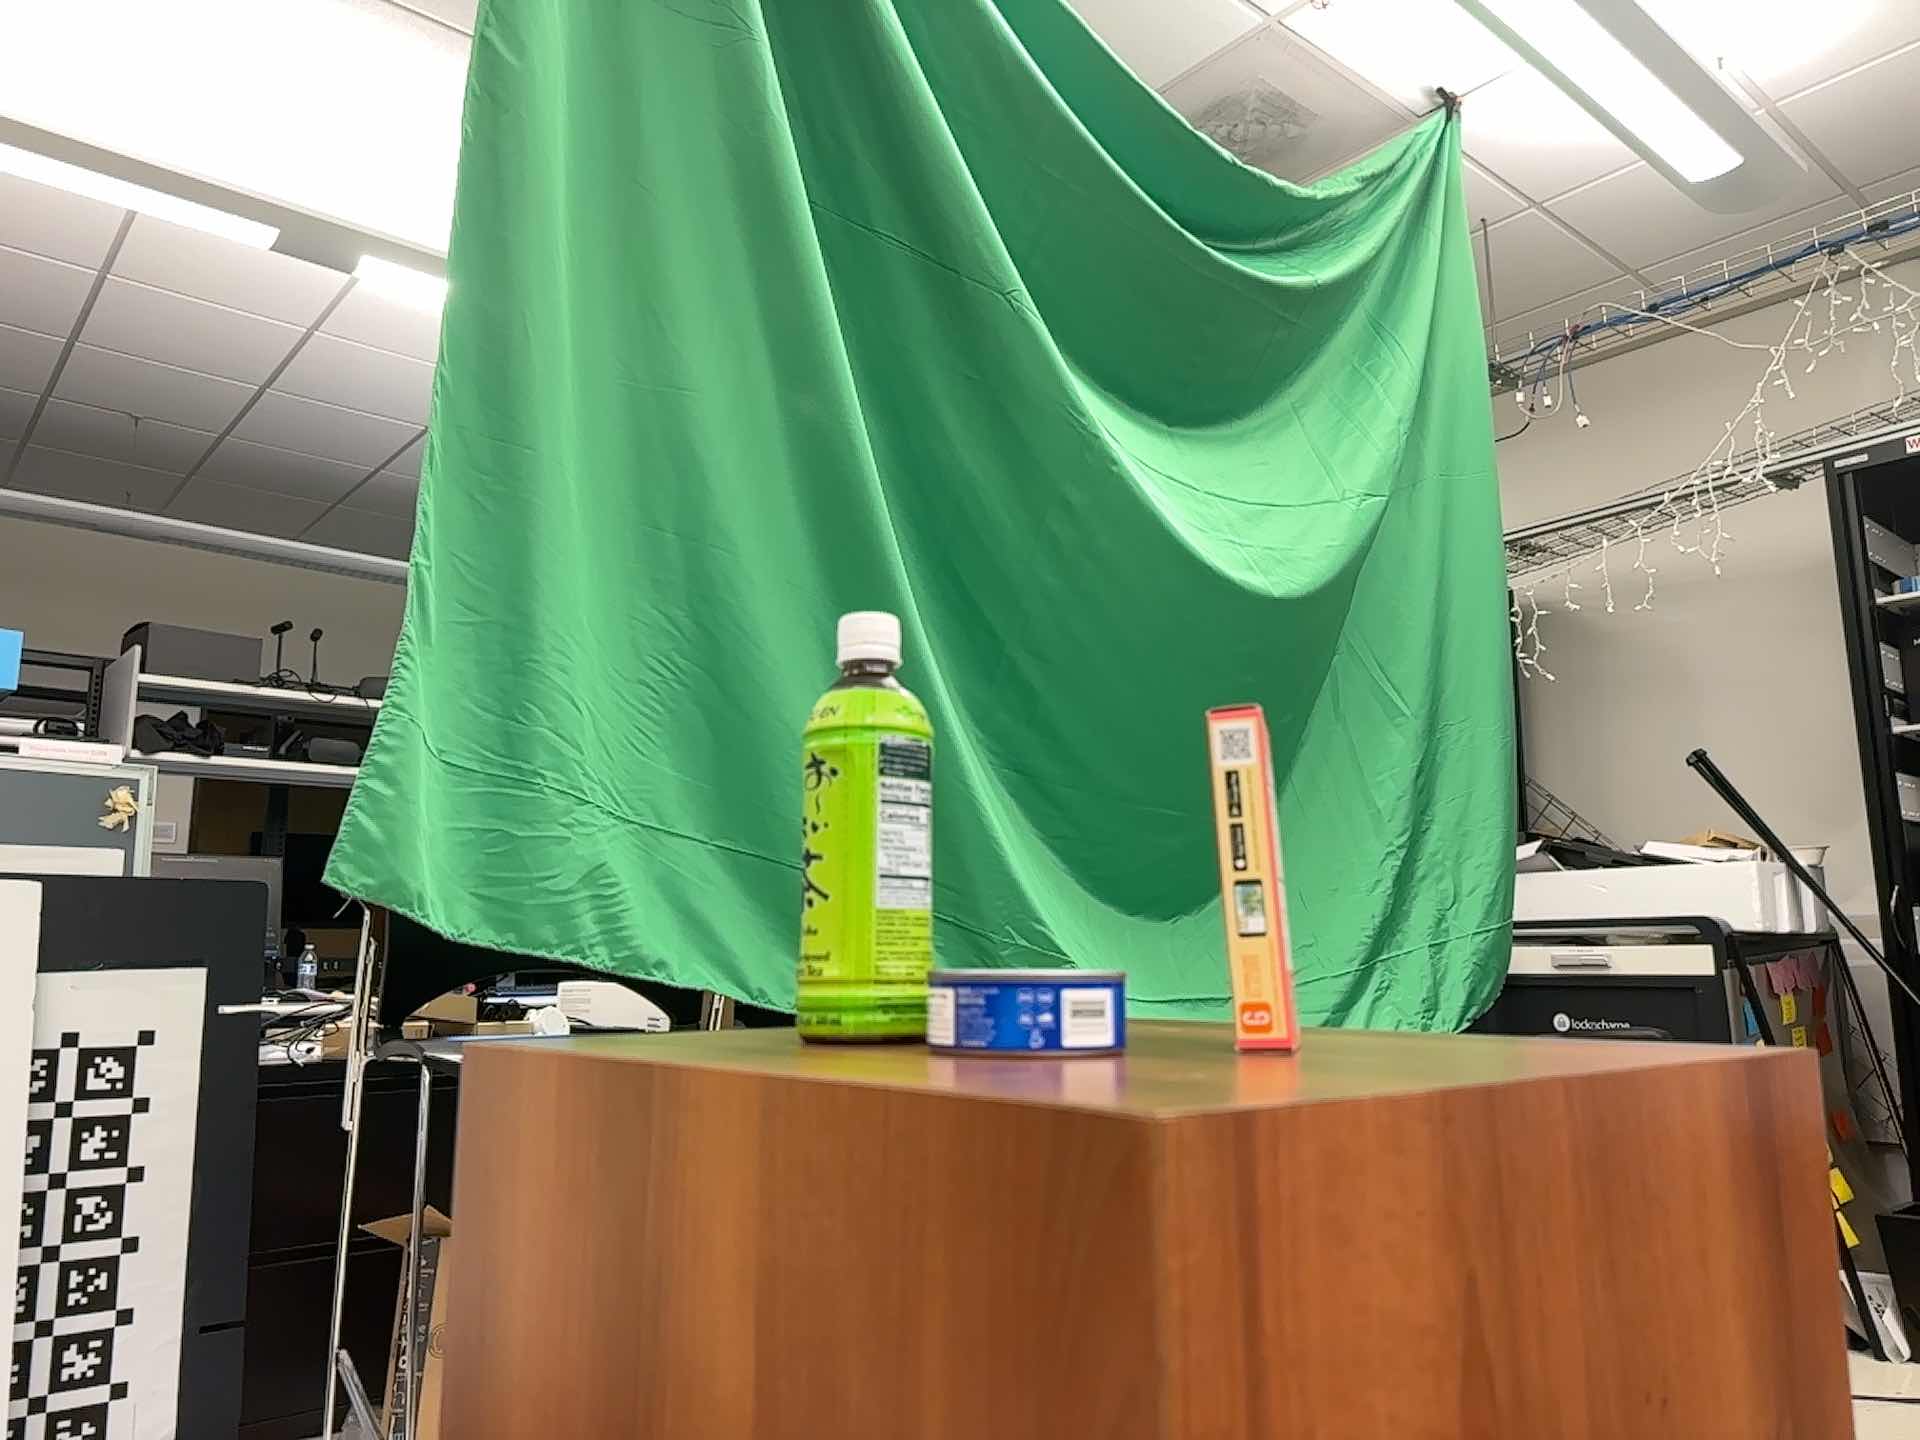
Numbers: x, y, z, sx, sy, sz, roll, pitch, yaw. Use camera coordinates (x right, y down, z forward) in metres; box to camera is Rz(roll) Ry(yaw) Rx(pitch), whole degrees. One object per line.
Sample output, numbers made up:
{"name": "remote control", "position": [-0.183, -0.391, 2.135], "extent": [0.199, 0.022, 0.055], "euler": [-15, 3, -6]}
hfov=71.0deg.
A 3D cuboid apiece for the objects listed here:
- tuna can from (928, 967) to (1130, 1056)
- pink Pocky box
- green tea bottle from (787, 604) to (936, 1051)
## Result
{"name": "tuna can", "position": [0.029, 0.121, 0.564], "extent": [0.083, 0.034, 0.083], "euler": [0, -10, 0]}
{"name": "pink Pocky box", "position": [0.137, 0.070, 0.620], "extent": [0.029, 0.155, 0.084], "euler": [-6, -10, 14]}
{"name": "green tea bottle", "position": [-0.047, 0.050, 0.651], "extent": [0.073, 0.212, 0.073], "euler": [-1, -11, 0]}
